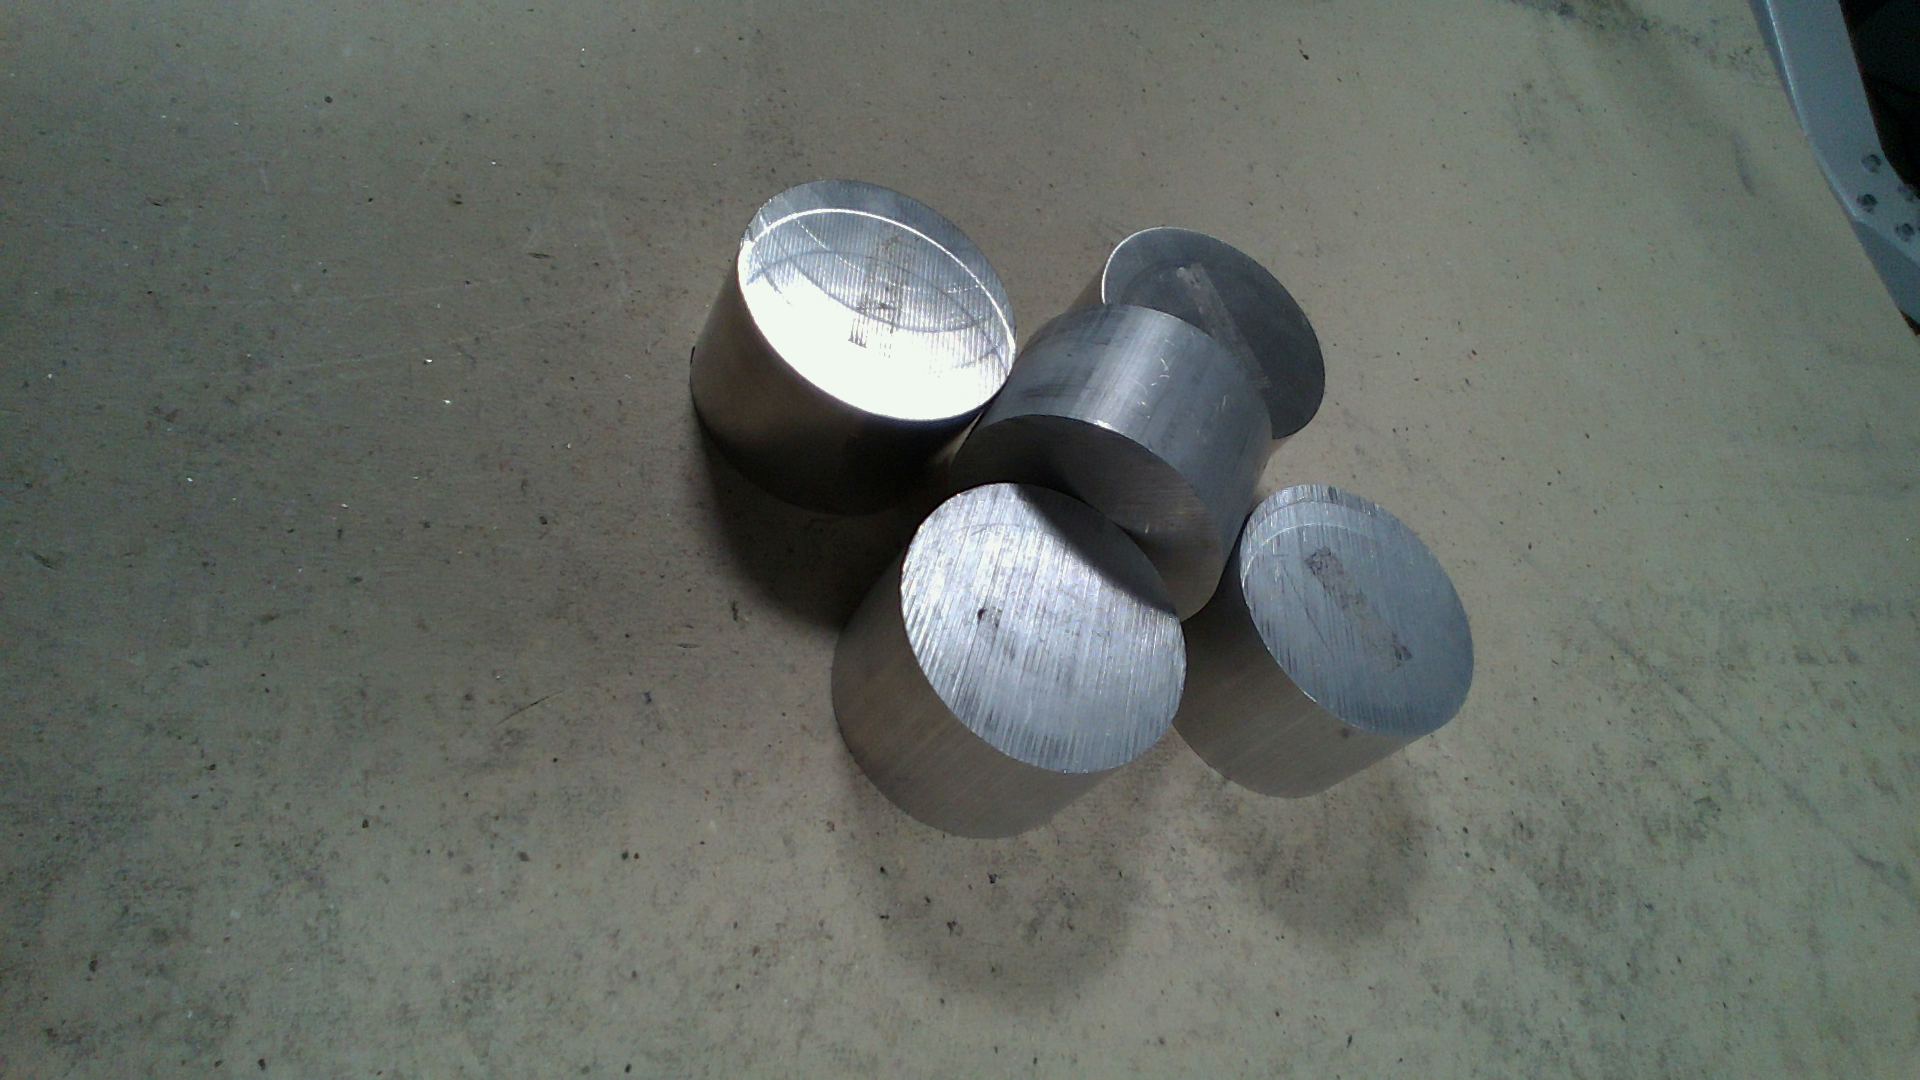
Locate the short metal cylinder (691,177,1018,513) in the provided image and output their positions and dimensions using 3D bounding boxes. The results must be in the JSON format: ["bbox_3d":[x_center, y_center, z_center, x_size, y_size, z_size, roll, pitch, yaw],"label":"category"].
[{"bbox_3d":[-0.030,-0.055,0.390,0.080,0.050,0.080,14,56,-21],"label":"short metal cylinder"}]

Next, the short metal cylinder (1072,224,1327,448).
[{"bbox_3d":[0.069,-0.053,0.441,0.080,0.050,0.080,14,56,-21],"label":"short metal cylinder"}]

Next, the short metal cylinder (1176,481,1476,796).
[{"bbox_3d":[0.104,0.030,0.410,0.080,0.050,0.080,14,56,-21],"label":"short metal cylinder"}]

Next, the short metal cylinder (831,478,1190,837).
[{"bbox_3d":[0.012,0.031,0.360,0.080,0.050,0.080,14,56,-21],"label":"short metal cylinder"}]

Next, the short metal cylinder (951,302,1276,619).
[{"bbox_3d":[0.044,-0.020,0.390,0.080,0.080,0.050,34,51,-5],"label":"short metal cylinder"}]
